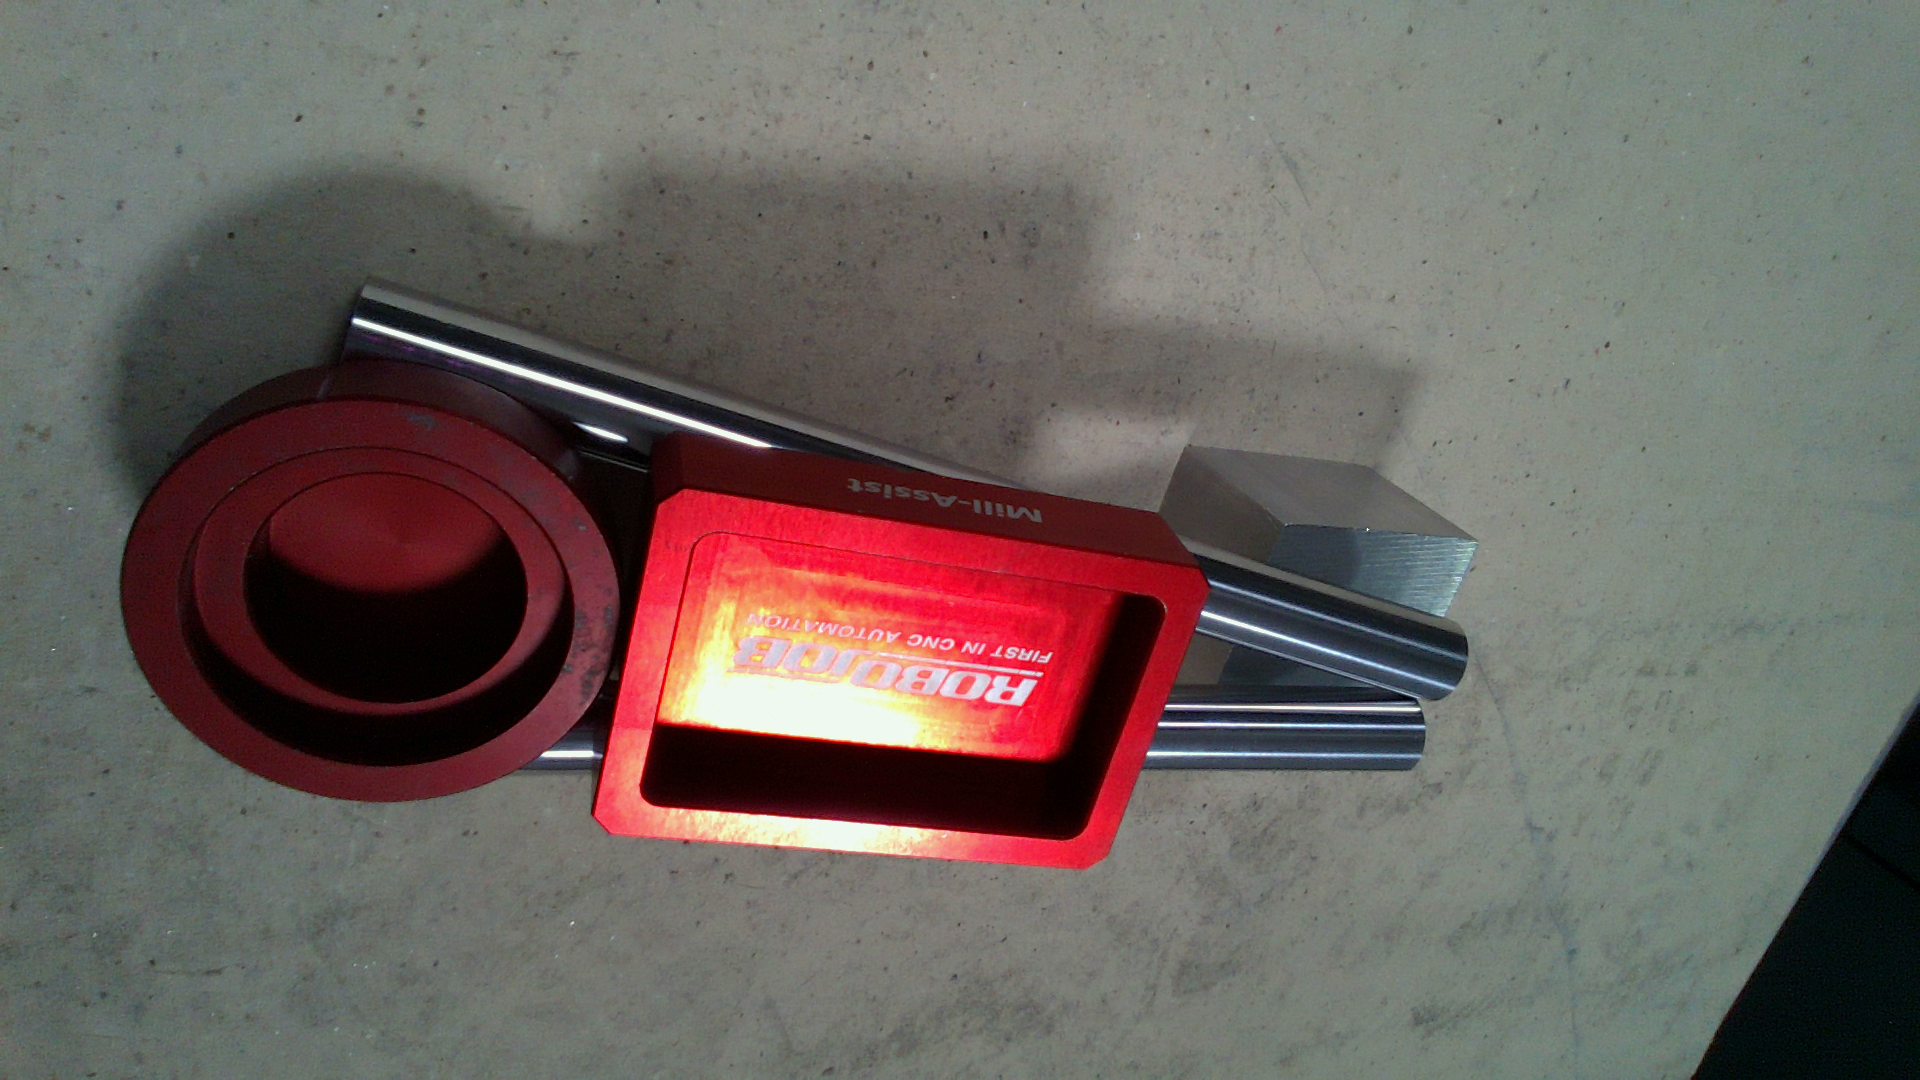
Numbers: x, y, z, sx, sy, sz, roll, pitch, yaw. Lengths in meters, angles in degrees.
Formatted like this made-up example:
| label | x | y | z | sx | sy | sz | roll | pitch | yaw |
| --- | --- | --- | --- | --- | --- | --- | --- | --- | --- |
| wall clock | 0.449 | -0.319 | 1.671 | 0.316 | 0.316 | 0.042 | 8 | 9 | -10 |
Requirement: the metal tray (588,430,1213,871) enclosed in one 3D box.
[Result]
| label | x | y | z | sx | sy | sz | roll | pitch | yaw |
| --- | --- | --- | --- | --- | --- | --- | --- | --- | --- |
| metal tray | -0.016 | 0.030 | 0.329 | 0.130 | 0.030 | 0.090 | 9 | 114 | -18 |

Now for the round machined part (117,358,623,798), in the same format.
| label | x | y | z | sx | sy | sz | roll | pitch | yaw |
| --- | --- | --- | --- | --- | --- | --- | --- | --- | --- |
| round machined part | -0.126 | 0.006 | 0.306 | 0.098 | 0.042 | 0.098 | -7 | 119 | -13 |

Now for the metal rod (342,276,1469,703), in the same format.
| label | x | y | z | sx | sy | sz | roll | pitch | yaw |
| --- | --- | --- | --- | --- | --- | --- | --- | --- | --- |
| metal rod | 0.005 | -0.004 | 0.348 | 0.301 | 0.025 | 0.025 | 17 | 110 | -21 |

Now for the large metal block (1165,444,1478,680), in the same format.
| label | x | y | z | sx | sy | sz | roll | pitch | yaw |
| --- | --- | --- | --- | --- | --- | --- | --- | --- | --- |
| large metal block | 0.104 | 0.020 | 0.440 | 0.080 | 0.050 | 0.080 | 4 | 117 | -30 |

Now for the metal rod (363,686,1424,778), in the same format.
| label | x | y | z | sx | sy | sz | roll | pitch | yaw |
| --- | --- | --- | --- | --- | --- | --- | --- | --- | --- |
| metal rod | -0.013 | 0.051 | 0.372 | 0.301 | 0.025 | 0.025 | 2 | 118 | -15 |
